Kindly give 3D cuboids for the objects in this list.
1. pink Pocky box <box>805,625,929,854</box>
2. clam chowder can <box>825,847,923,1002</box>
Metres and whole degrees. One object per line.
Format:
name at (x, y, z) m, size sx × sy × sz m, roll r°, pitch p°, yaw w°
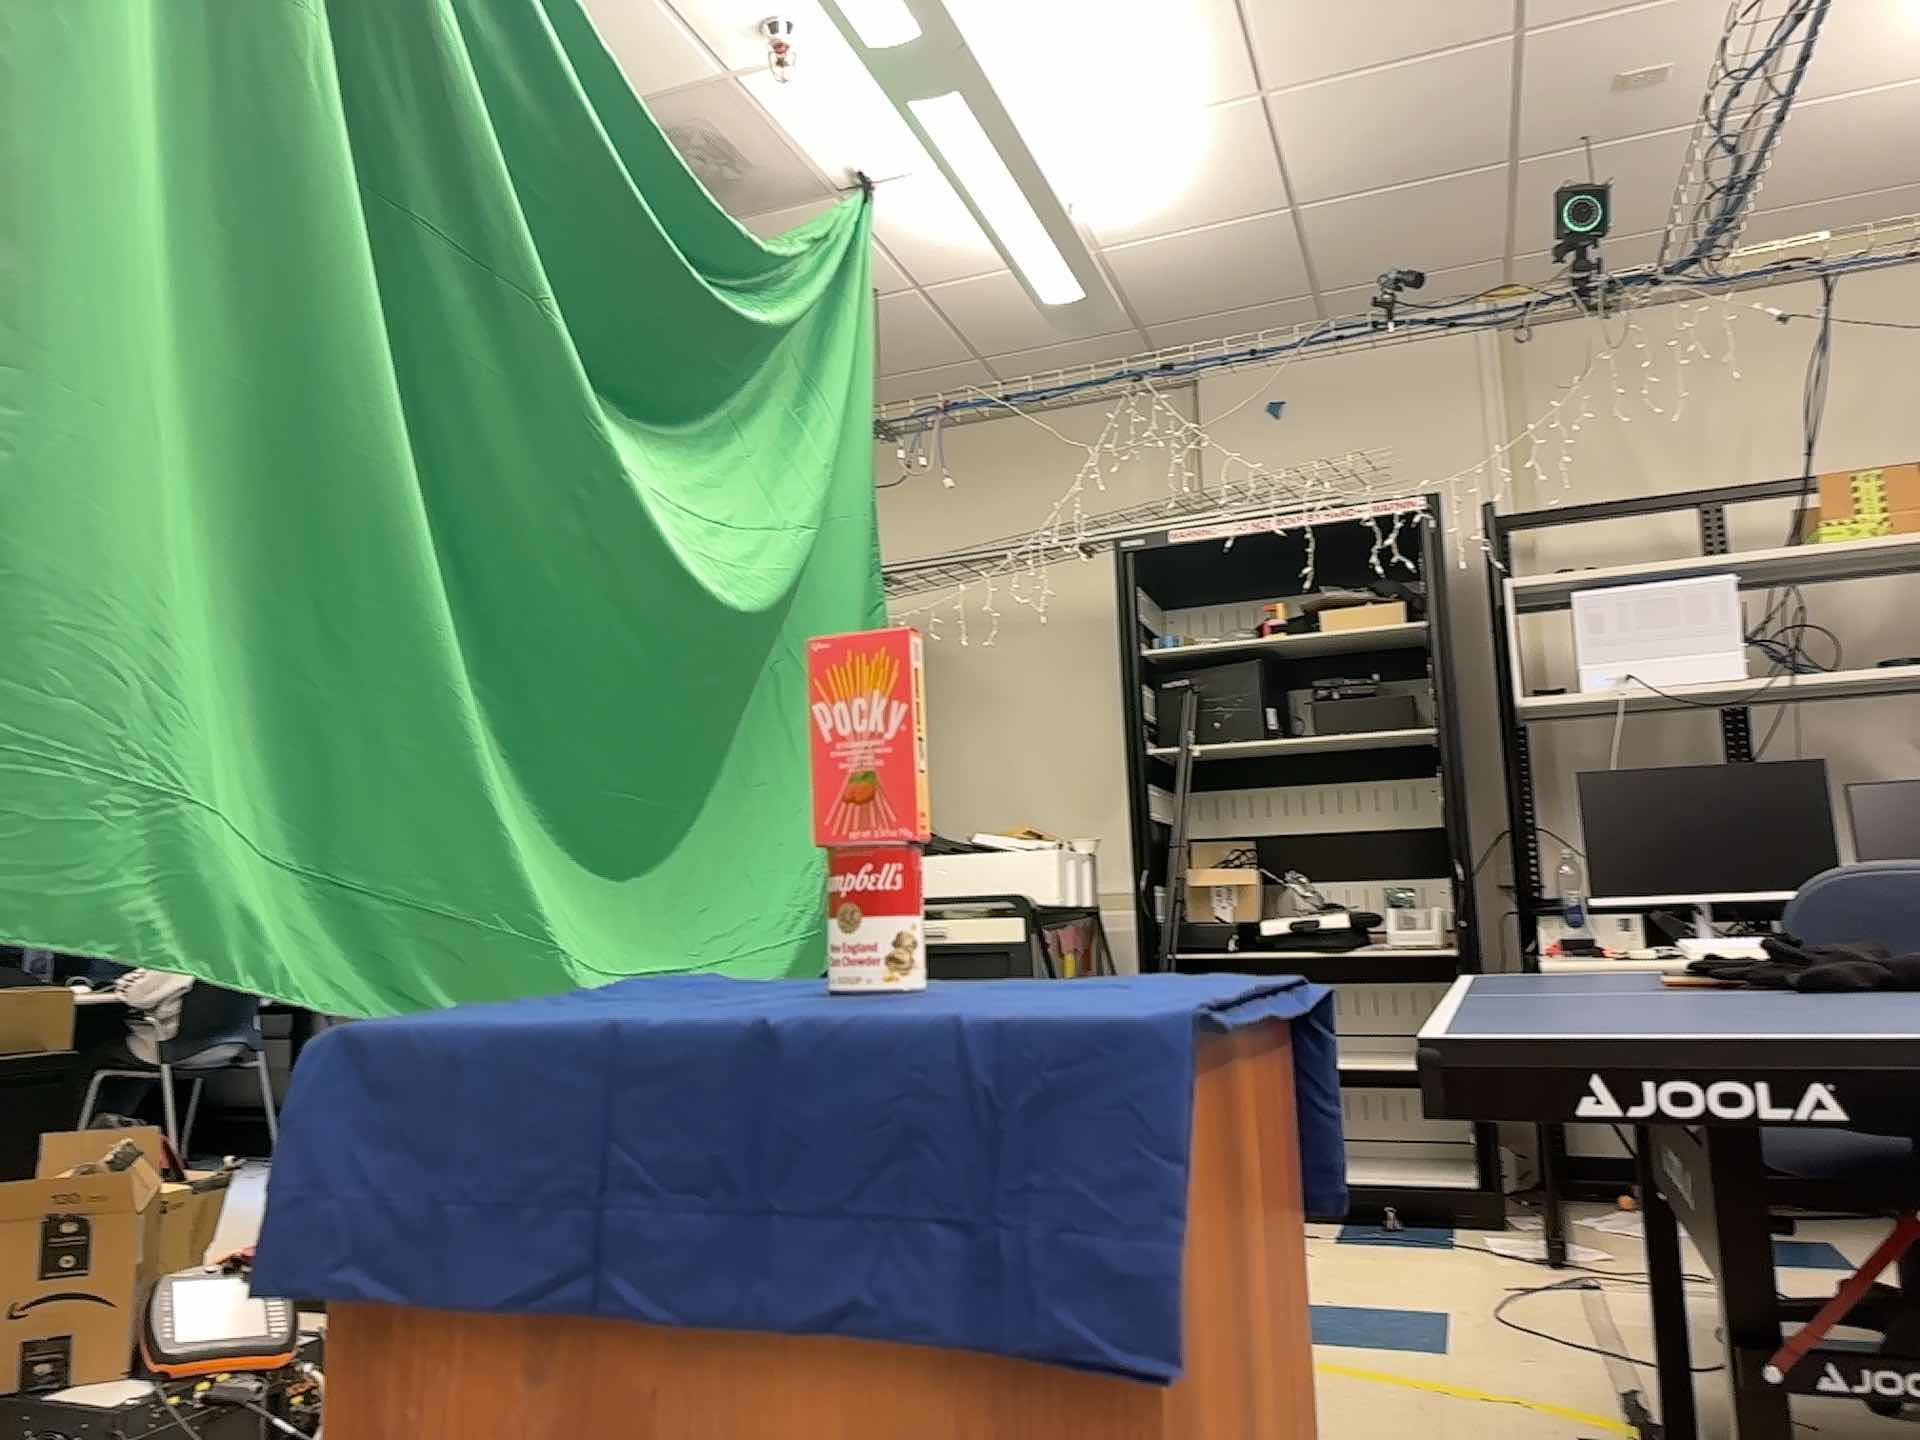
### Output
pink Pocky box at (-0.067, 0.015, 0.944) m, size 0.084 × 0.155 × 0.029 m, roll -6°, pitch -9°, yaw 25°
clam chowder can at (-0.060, 0.141, 0.927) m, size 0.068 × 0.102 × 0.068 m, roll -1°, pitch -9°, yaw 0°
